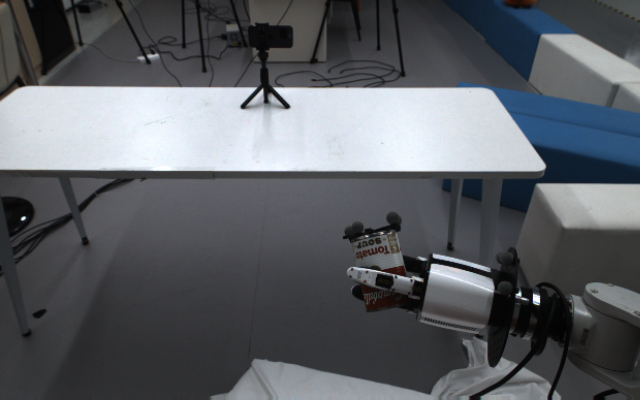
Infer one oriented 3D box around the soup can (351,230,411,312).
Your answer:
[{"bbox_3d":[0.087,0.099,0.675,0.067,0.067,0.101,-10,80,-16],"label":"soup can"}]
